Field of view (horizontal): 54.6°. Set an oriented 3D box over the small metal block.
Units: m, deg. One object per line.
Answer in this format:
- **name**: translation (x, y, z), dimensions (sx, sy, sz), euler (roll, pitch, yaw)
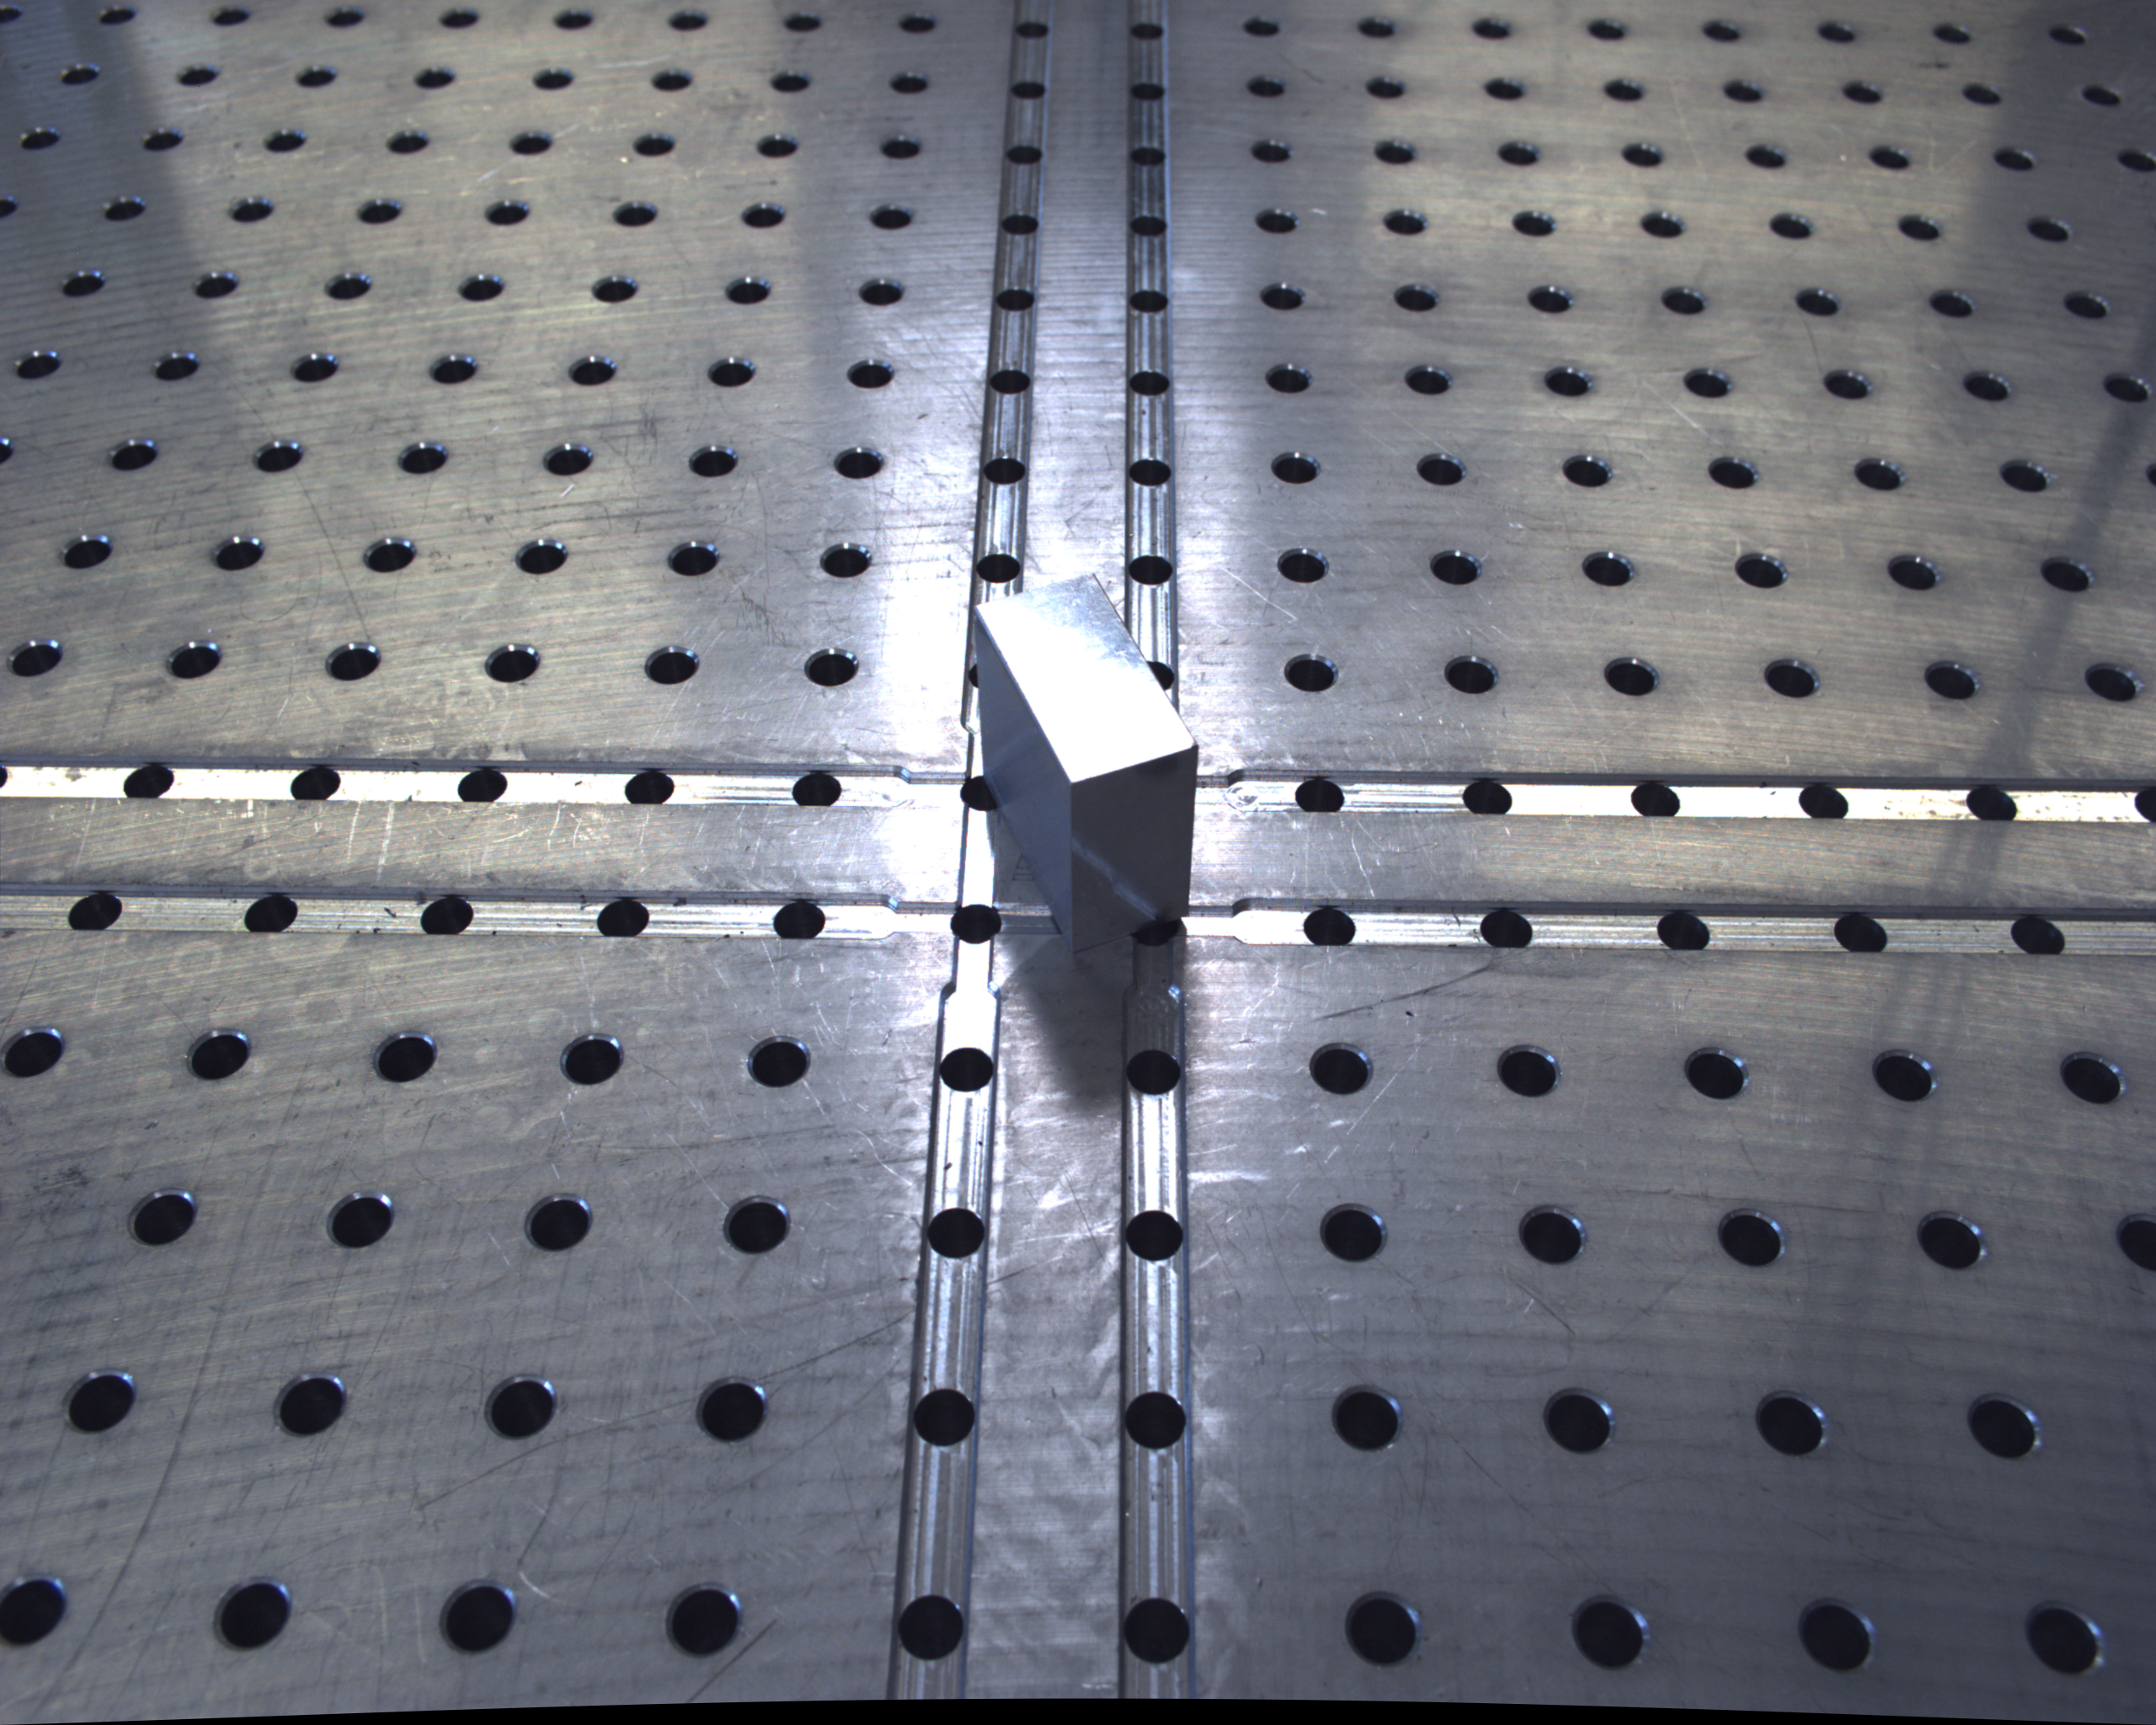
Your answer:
- **small metal block**: translation (0.001, -0.019, 0.408), dimensions (0.025, 0.050, 0.050), euler (-18, 53, -14)
